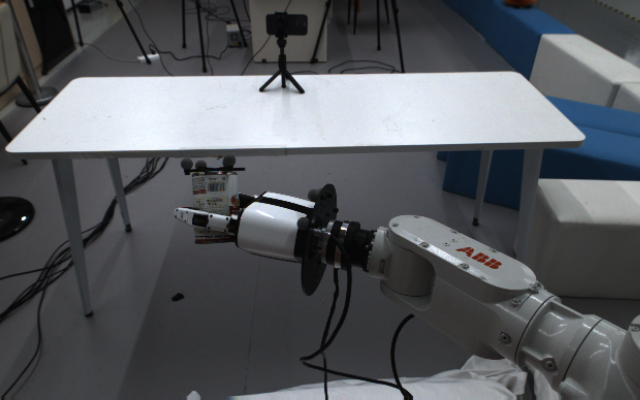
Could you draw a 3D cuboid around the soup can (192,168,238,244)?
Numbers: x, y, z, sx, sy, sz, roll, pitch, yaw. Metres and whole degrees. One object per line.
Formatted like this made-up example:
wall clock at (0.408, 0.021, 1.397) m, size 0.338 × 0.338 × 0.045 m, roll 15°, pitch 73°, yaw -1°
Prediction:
soup can at (-0.151, 0.012, 0.708) m, size 0.067 × 0.101 × 0.067 m, roll -3°, pitch -1°, yaw 0°
